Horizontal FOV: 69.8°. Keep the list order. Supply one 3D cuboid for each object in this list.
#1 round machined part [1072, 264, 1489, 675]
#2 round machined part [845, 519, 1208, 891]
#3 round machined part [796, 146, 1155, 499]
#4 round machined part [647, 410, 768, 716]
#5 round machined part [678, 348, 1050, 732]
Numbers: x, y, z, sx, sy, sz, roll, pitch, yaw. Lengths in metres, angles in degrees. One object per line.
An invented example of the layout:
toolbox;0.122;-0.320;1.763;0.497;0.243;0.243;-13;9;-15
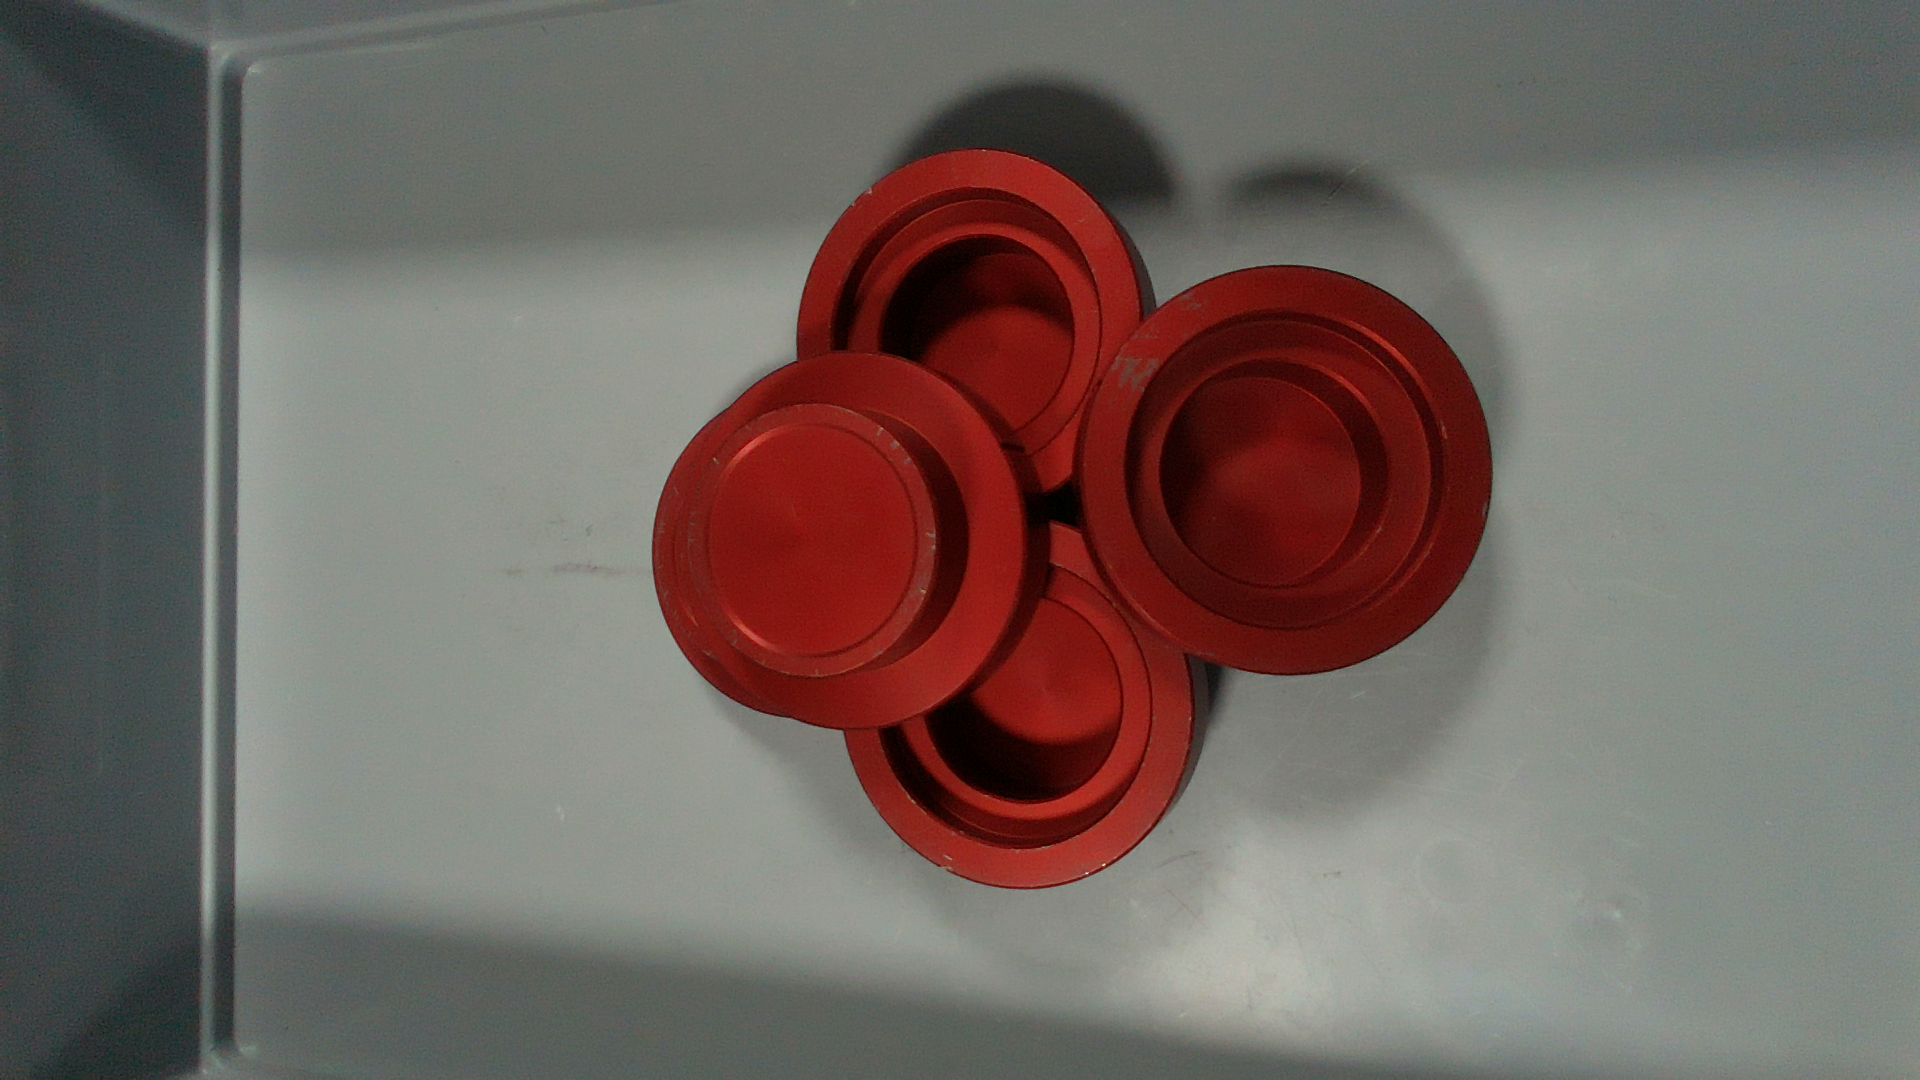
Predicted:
round machined part;0.077;-0.016;0.346;0.098;0.042;0.098;0;87;0
round machined part;0.020;0.042;0.378;0.098;0.042;0.098;0;90;20
round machined part;0.007;-0.055;0.383;0.098;0.042;0.098;0;90;20
round machined part;-0.050;0.004;0.402;0.098;0.042;0.098;0;90;20
round machined part;-0.030;0.000;0.350;0.098;0.042;0.098;0;90;20
